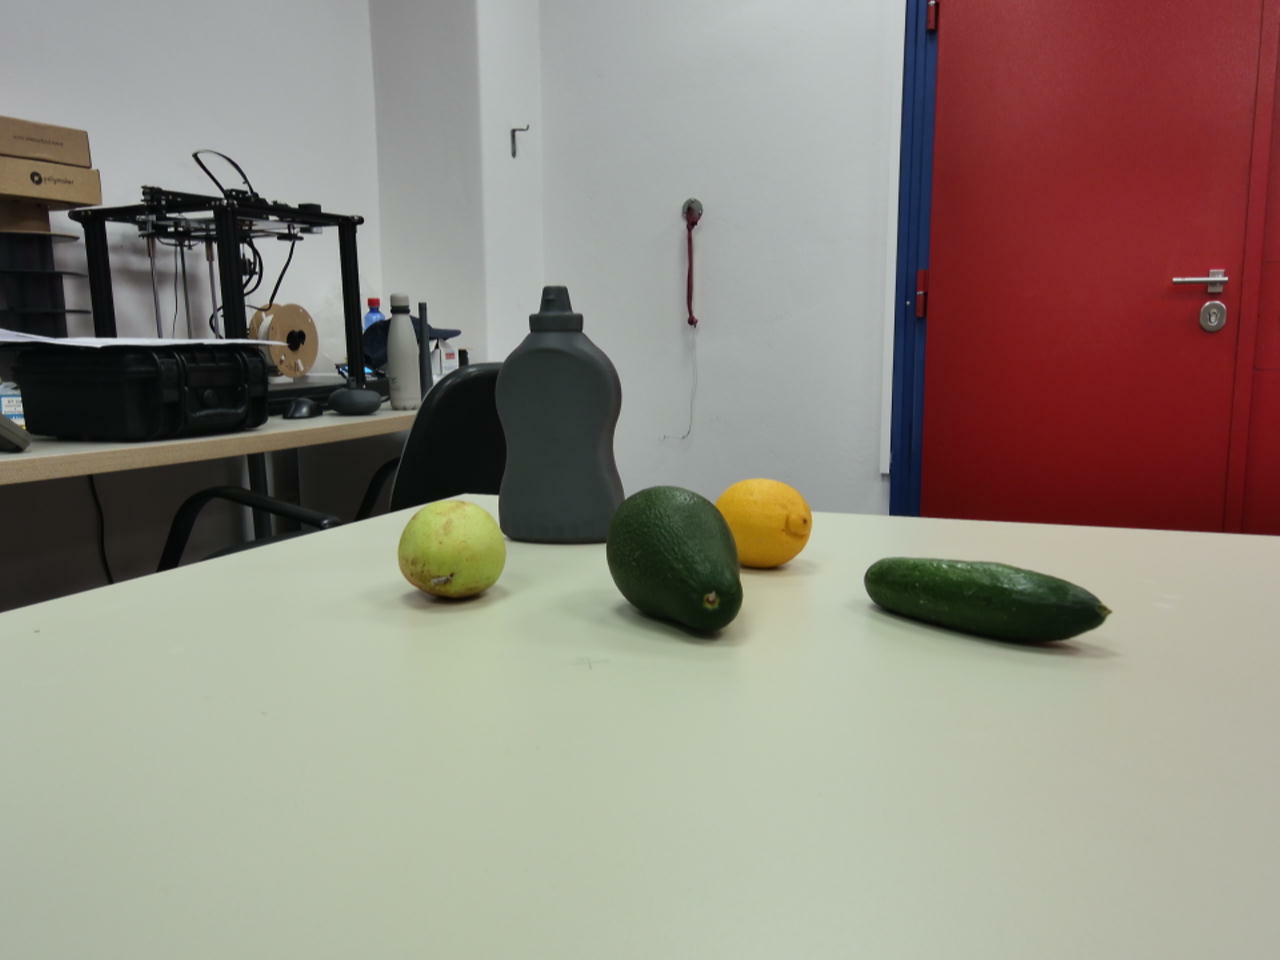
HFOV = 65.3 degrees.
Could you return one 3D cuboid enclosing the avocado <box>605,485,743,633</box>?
[{"bbox_3d":[0.017,0.040,0.540,0.072,0.071,0.109,1,6,1],"label":"avocado"}]
